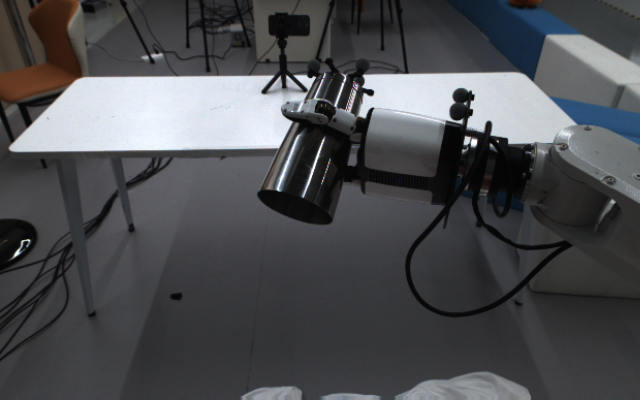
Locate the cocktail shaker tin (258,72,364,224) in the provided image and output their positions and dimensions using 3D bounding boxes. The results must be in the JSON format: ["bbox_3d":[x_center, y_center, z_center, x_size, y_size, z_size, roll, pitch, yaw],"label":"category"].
[{"bbox_3d":[-0.002,-0.066,0.584,0.093,0.093,0.170,13,70,15],"label":"cocktail shaker tin"}]
